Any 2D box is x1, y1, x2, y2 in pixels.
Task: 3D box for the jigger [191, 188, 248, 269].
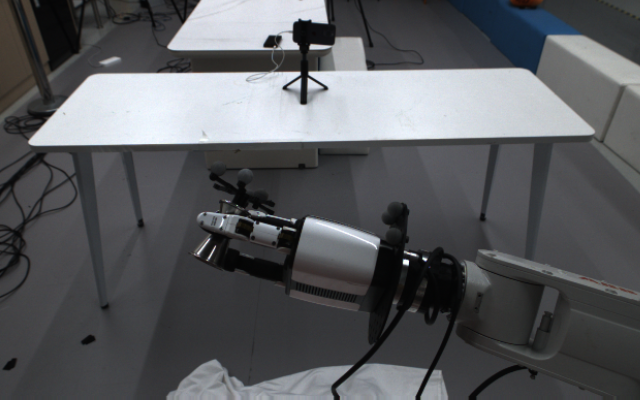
[{"bbox_3d":[-0.109,0.037,0.530,0.043,0.043,0.071,20,72,23],"label":"jigger"}]
